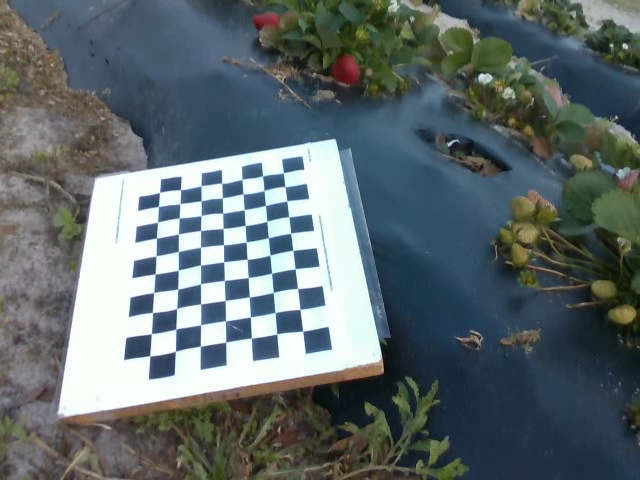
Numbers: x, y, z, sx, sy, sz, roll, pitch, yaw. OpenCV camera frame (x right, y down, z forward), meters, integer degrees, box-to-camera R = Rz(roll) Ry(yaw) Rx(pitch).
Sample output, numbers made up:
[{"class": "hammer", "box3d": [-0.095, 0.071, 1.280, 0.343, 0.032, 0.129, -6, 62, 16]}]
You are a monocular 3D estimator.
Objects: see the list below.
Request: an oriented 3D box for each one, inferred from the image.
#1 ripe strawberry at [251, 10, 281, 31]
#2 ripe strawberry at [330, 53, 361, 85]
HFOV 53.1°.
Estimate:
[{"class": "ripe strawberry", "box3d": [-0.088, -0.339, 0.995, 0.050, 0.043, 0.043, 1, 41, -32]}, {"class": "ripe strawberry", "box3d": [0.035, -0.255, 0.931, 0.043, 0.047, 0.046, -8, 17, -4]}]
